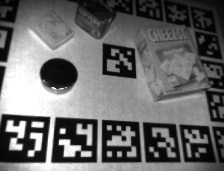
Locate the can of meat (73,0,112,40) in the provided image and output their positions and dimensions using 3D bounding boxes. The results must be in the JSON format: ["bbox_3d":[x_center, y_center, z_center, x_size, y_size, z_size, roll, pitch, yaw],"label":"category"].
[{"bbox_3d":[-0.062,-0.190,0.624,0.102,0.083,0.058,32,62,-3],"label":"can of meat"}]

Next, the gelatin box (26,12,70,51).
[{"bbox_3d":[-0.173,-0.149,0.589,0.089,0.030,0.074,44,59,-1],"label":"gelatin box"}]

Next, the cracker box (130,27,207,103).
[{"bbox_3d":[0.172,-0.071,0.662,0.166,0.071,0.212,-11,72,-24],"label":"cracker box"}]

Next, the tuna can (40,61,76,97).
[{"bbox_3d":[-0.136,-0.015,0.544,0.086,0.033,0.085,6,71,-16],"label":"tuna can"}]
